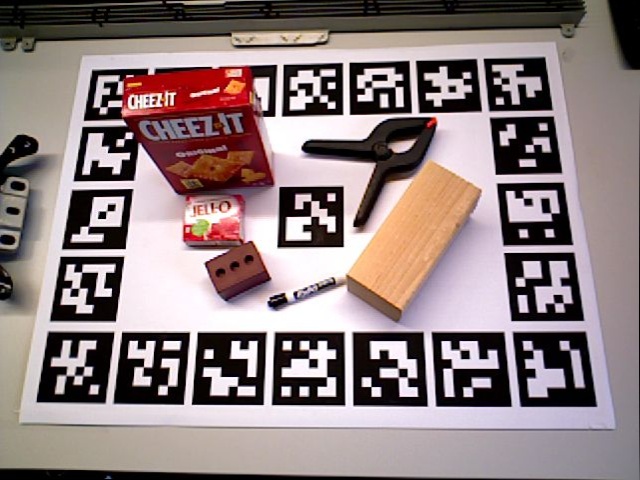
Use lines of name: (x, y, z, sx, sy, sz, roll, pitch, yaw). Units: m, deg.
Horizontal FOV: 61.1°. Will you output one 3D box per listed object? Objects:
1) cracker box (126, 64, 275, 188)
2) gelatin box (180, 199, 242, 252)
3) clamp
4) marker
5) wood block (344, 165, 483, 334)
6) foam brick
cracker box: (-0.151, -0.149, 0.746, 0.163, 0.216, 0.071, -3, 70, 0)
gelatin box: (-0.163, -0.022, 0.813, 0.089, 0.030, 0.073, -1, 75, 4)
clamp: (0.091, -0.122, 0.818, 0.201, 0.037, 0.165, -30, 74, -5)
marker: (-0.035, 0.086, 0.773, 0.120, 0.020, 0.019, -19, 74, -2)
wood block: (0.126, 0.013, 0.751, 0.090, 0.092, 0.204, 34, 76, 15)
foam brick: (-0.124, 0.052, 0.774, 0.077, 0.052, 0.052, -24, 74, -4)
